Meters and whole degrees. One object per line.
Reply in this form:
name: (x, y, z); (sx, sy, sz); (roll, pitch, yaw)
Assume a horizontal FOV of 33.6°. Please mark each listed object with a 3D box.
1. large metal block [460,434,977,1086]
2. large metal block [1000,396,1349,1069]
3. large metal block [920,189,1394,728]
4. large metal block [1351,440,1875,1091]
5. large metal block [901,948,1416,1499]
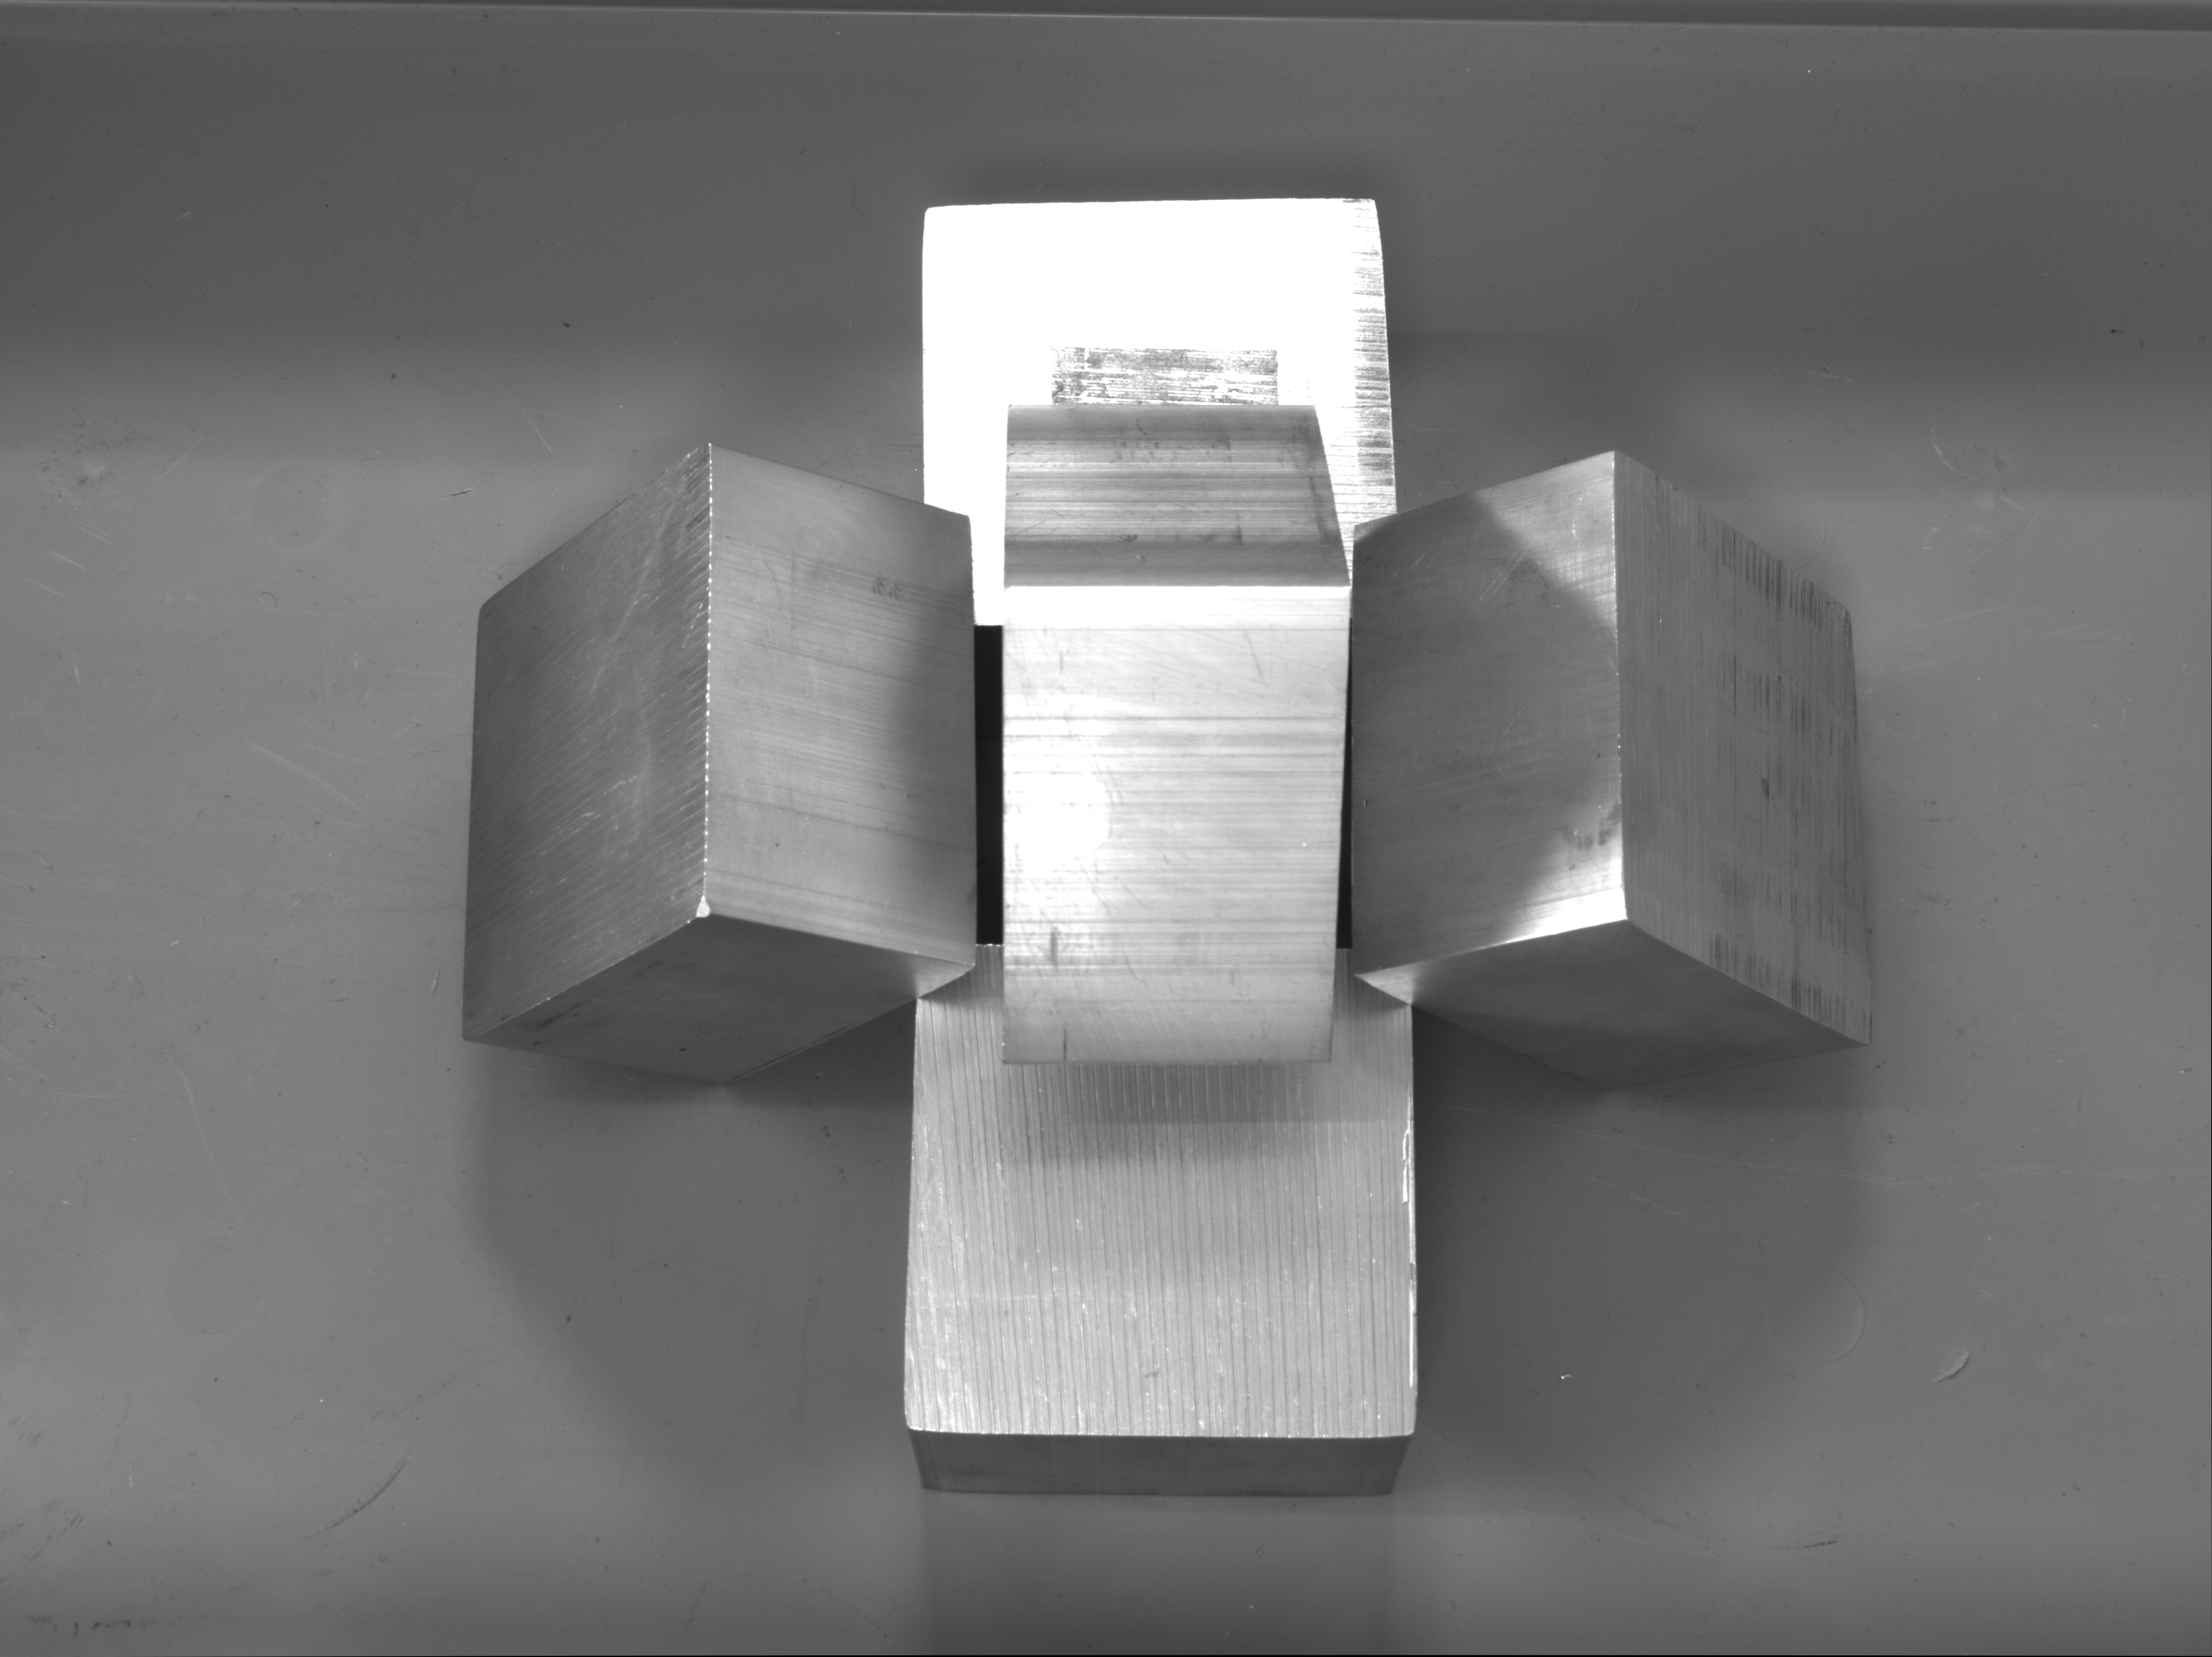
large metal block: (-0.065, -0.009, 0.609); (0.050, 0.080, 0.080); (13, 66, -34)
large metal block: (0.009, -0.017, 0.578); (0.050, 0.080, 0.080); (0, 26, -1)
large metal block: (0.009, -0.065, 0.652); (0.080, 0.050, 0.080); (-1, 70, 0)
large metal block: (0.084, -0.008, 0.610); (0.050, 0.080, 0.080); (-14, 65, 37)
large metal block: (0.009, 0.066, 0.606); (0.080, 0.050, 0.080); (1, 70, 0)
